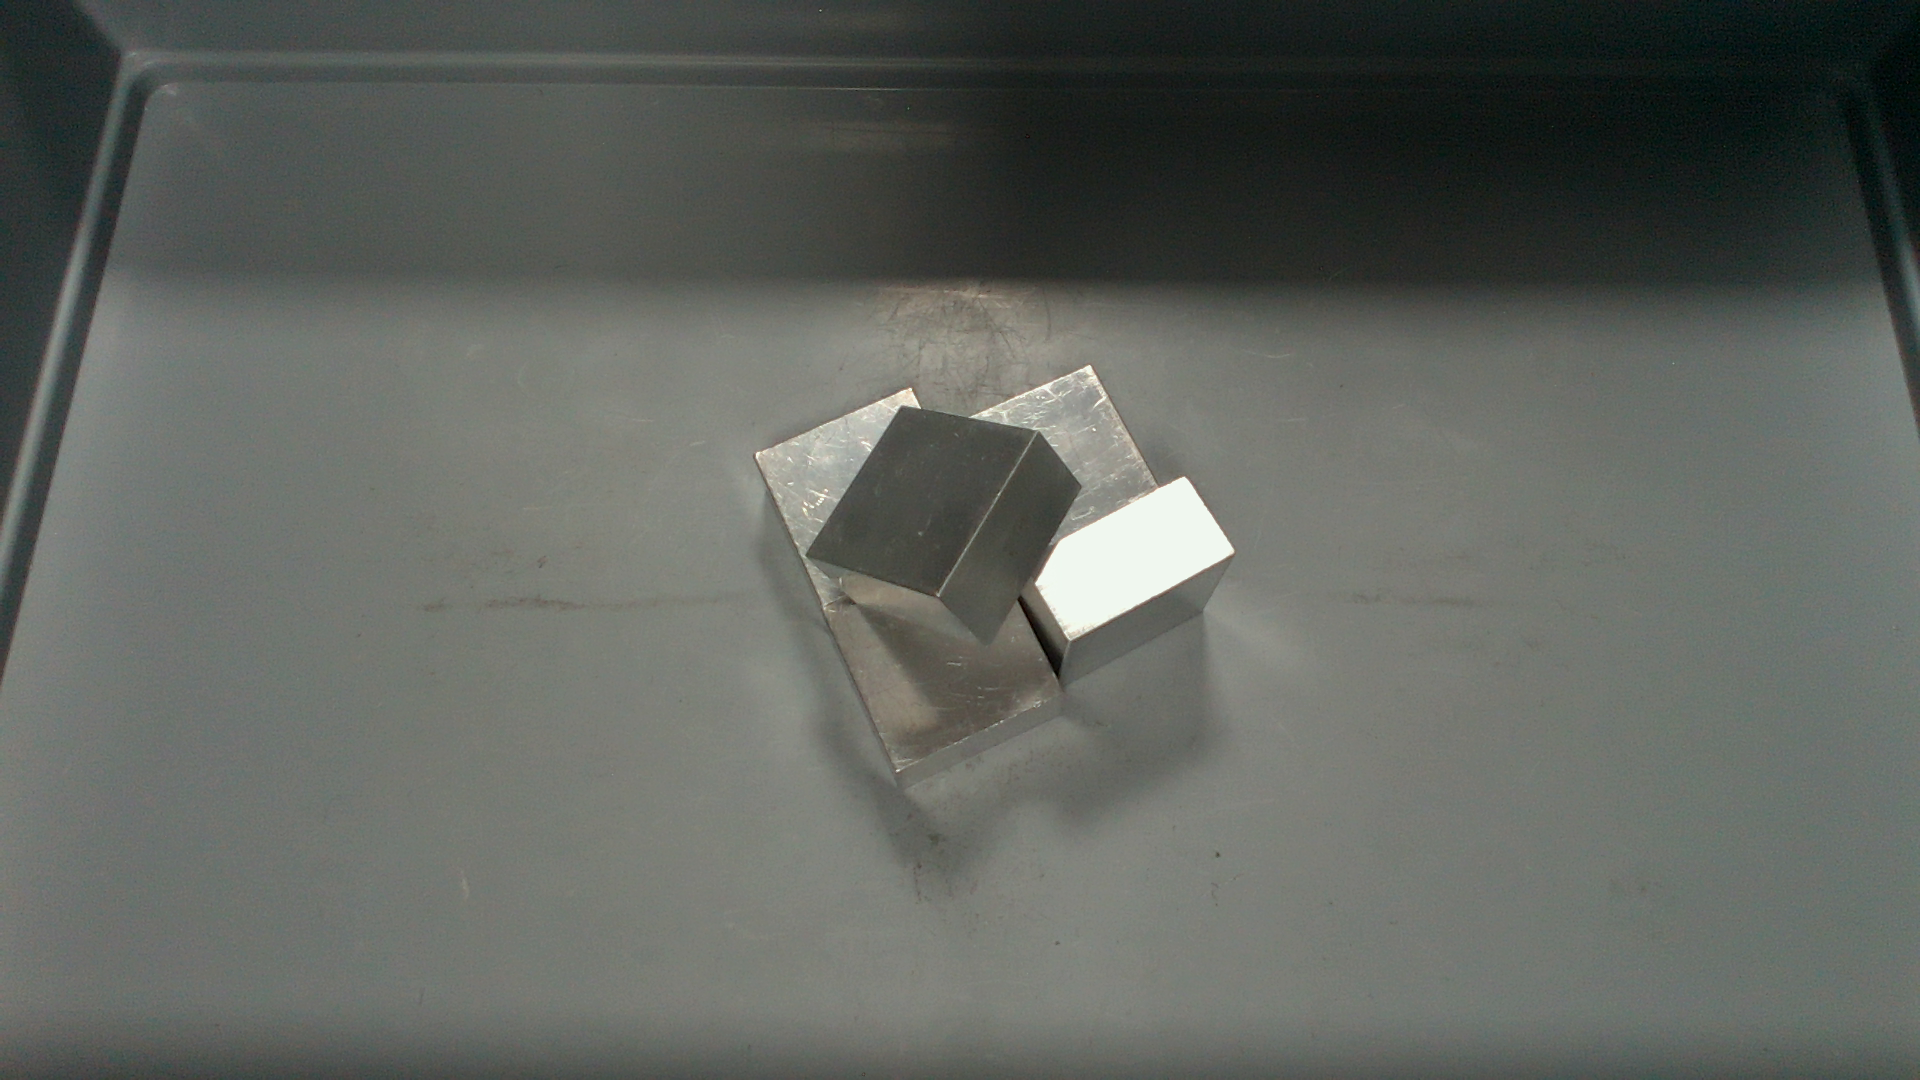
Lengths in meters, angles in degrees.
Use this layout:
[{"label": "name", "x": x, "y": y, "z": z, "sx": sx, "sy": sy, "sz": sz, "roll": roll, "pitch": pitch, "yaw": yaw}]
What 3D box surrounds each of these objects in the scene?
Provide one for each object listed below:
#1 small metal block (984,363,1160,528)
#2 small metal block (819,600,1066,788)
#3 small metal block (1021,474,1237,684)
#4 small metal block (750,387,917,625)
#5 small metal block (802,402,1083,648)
[{"label": "small metal block", "x": 0.026, "y": -0.016, "z": 0.399, "sx": 0.050, "sy": 0.025, "sz": 0.050, "roll": -24, "pitch": 72, "yaw": -8}, {"label": "small metal block", "x": -0.005, "y": 0.034, "z": 0.381, "sx": 0.050, "sy": 0.025, "sz": 0.050, "roll": -24, "pitch": 72, "yaw": -8}, {"label": "small metal block", "x": 0.043, "y": 0.013, "z": 0.375, "sx": 0.050, "sy": 0.050, "sz": 0.025, "roll": -27, "pitch": 72, "yaw": -10}, {"label": "small metal block", "x": -0.026, "y": -0.009, "z": 0.397, "sx": 0.050, "sy": 0.025, "sz": 0.050, "roll": -24, "pitch": 72, "yaw": -8}, {"label": "small metal block", "x": -0.005, "y": -0.005, "z": 0.356, "sx": 0.050, "sy": 0.025, "sz": 0.050, "roll": 15, "pitch": 66, "yaw": 42}]
